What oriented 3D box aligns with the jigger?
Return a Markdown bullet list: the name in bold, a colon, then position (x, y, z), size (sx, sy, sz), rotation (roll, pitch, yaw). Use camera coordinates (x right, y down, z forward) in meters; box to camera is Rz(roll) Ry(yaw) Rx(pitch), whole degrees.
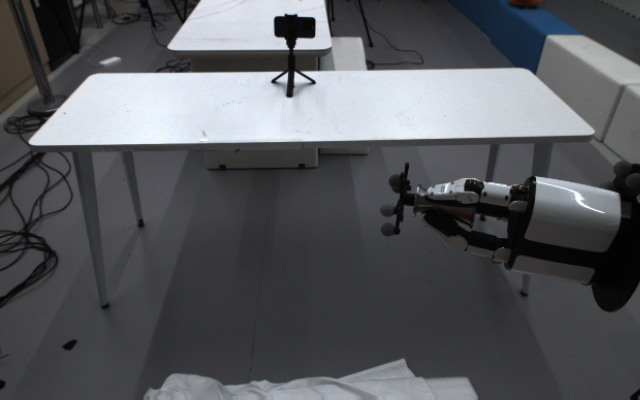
- **jigger**: position (0.153, 0.001, 0.567), size (0.071, 0.043, 0.043), rotation (10, 35, 15)
